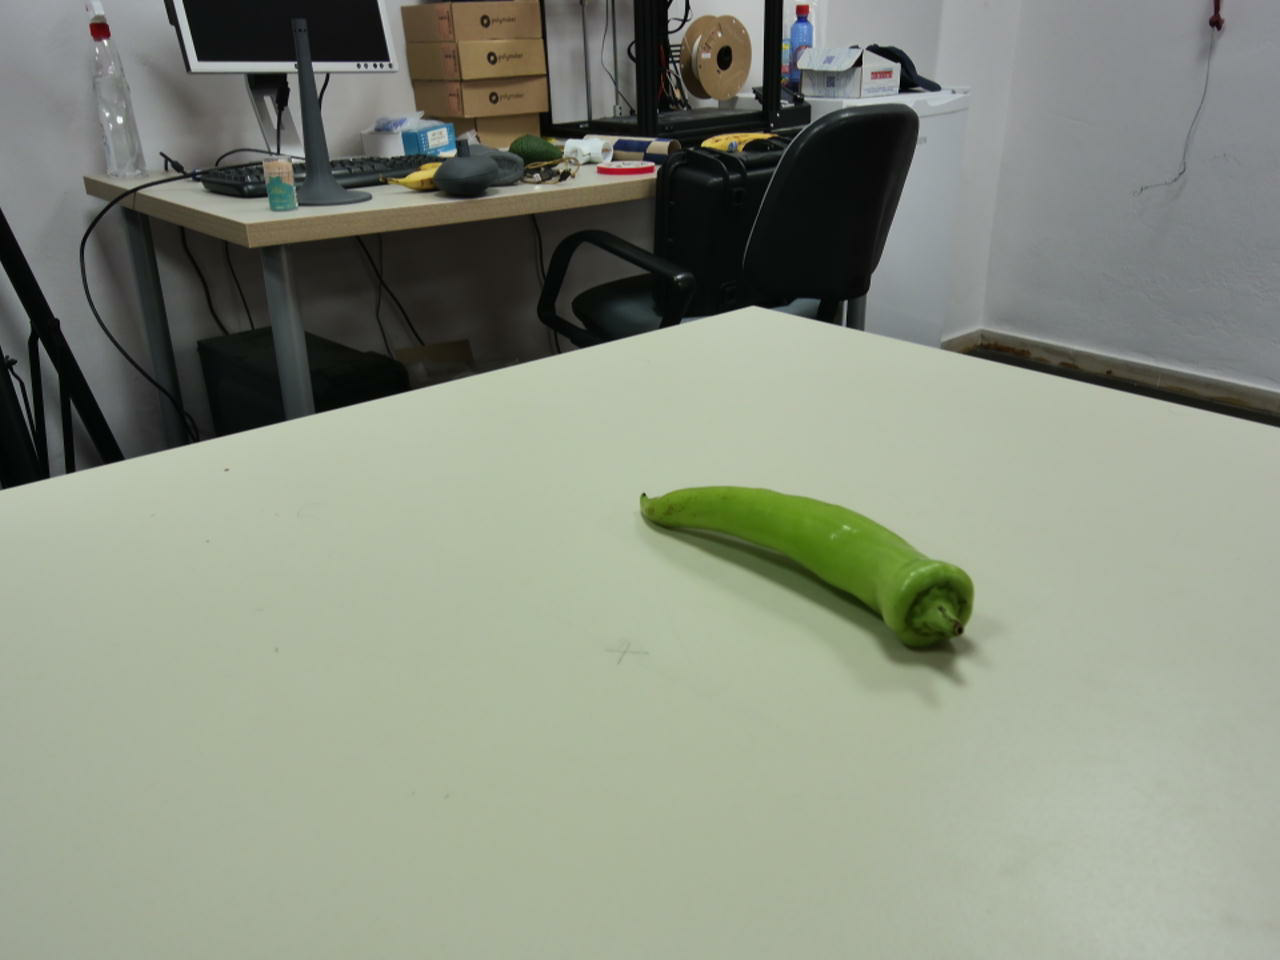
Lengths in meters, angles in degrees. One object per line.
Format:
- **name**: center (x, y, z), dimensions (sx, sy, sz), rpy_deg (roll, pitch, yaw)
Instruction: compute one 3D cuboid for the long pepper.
- **long pepper**: center (0.070, 0.025, 0.448), dimensions (0.046, 0.038, 0.197), rpy_deg (-15, 26, -34)
